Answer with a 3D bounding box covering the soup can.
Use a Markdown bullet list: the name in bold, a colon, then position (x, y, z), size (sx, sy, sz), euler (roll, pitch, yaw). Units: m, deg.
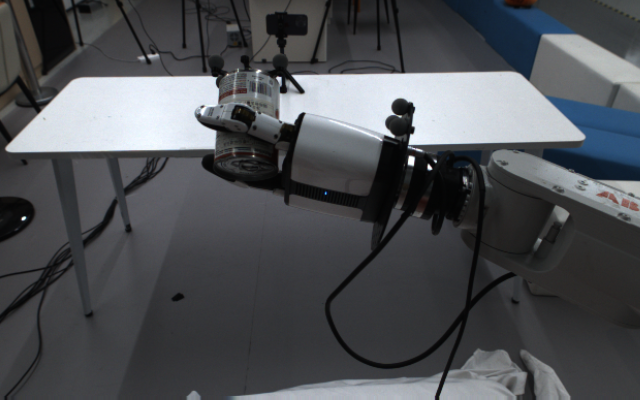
- **soup can**: position (-0.075, -0.078, 0.514), size (0.067, 0.067, 0.101), euler (1, 72, -2)
